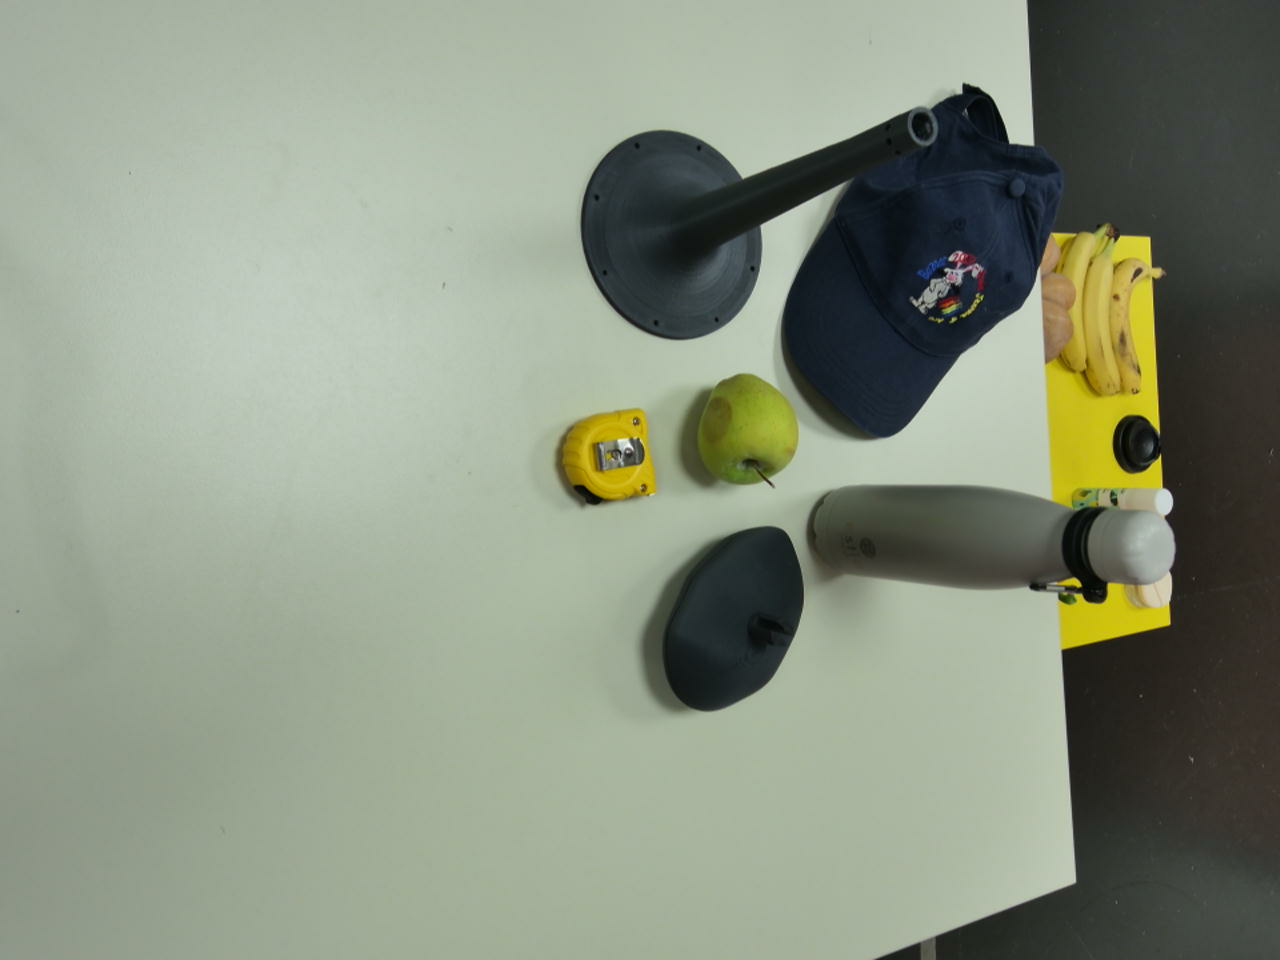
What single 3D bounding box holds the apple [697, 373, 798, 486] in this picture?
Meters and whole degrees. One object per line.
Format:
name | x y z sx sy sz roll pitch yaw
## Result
apple | 0.078 -0.035 0.712 0.072 0.075 0.077 44 71 -21
